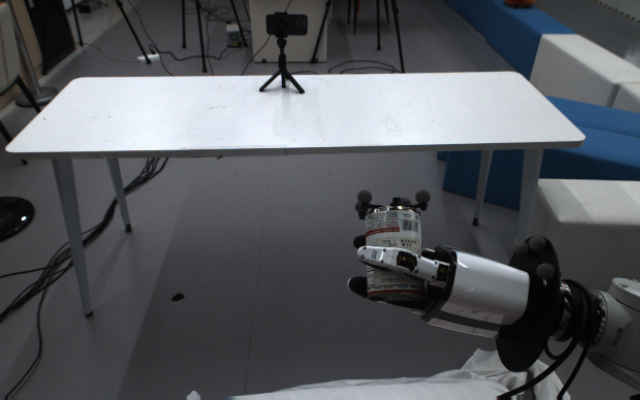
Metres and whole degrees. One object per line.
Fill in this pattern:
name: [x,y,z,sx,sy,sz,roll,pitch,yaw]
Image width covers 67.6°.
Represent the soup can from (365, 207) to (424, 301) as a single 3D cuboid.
soup can: [0.089,0.065,0.570,0.067,0.067,0.101,1,72,-2]
